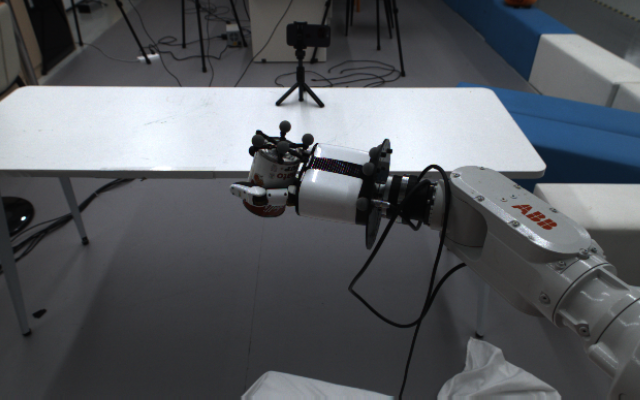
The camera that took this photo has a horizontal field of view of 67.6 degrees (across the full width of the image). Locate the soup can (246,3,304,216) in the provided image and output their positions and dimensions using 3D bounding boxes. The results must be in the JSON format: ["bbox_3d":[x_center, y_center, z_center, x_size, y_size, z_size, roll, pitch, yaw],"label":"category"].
[{"bbox_3d":[-0.071,-0.033,0.711,0.067,0.101,0.067,14,35,-10],"label":"soup can"}]
